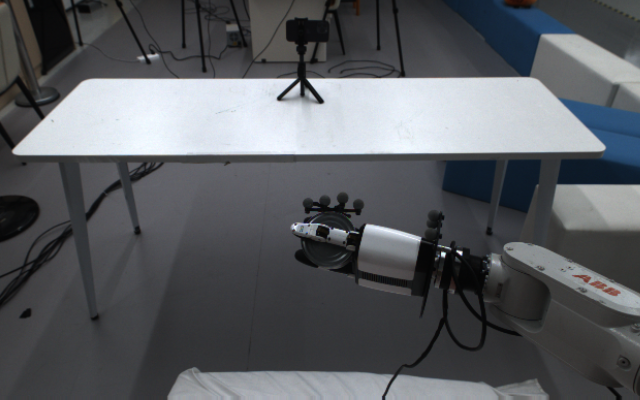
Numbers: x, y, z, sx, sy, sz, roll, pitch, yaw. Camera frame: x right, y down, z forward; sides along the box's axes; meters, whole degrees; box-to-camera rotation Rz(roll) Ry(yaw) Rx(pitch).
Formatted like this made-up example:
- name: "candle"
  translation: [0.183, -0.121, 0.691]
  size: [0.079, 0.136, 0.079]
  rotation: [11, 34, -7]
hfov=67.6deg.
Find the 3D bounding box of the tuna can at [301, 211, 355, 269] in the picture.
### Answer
- name: "tuna can"
  translation: [0.017, 0.062, 0.739]
  size: [0.085, 0.034, 0.085]
  rotation: [-3, 73, 10]
